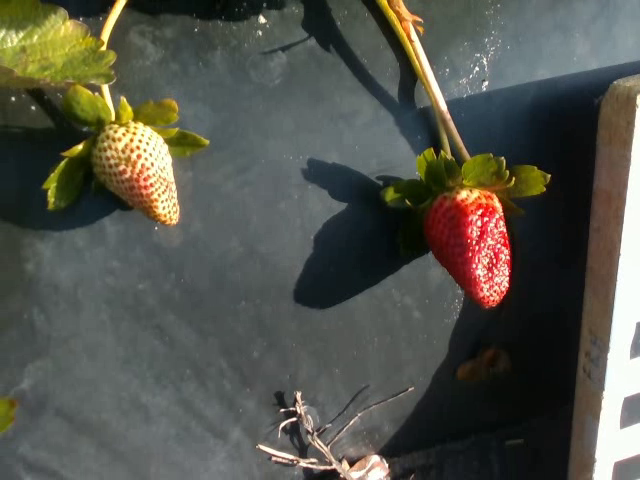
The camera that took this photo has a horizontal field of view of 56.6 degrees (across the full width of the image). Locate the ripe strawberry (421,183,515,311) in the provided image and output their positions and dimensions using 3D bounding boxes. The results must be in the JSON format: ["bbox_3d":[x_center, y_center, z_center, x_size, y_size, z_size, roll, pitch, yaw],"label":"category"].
[{"bbox_3d":[0.022,0.000,0.084,0.015,0.023,0.015,-8,-23,-15],"label":"ripe strawberry"}]
